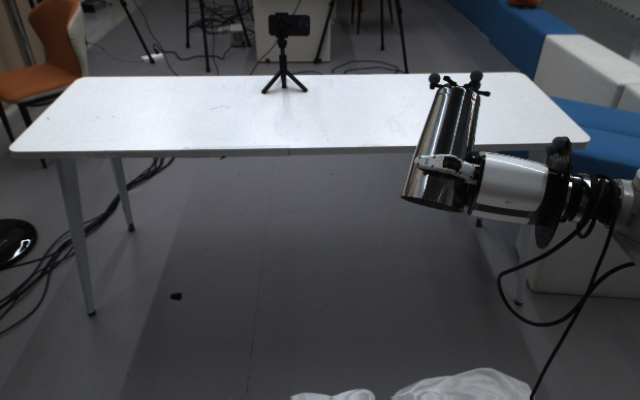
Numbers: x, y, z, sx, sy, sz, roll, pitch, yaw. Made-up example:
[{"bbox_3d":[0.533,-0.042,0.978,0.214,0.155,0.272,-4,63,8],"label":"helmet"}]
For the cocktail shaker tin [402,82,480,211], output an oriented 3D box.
[{"bbox_3d":[0.184,-0.075,0.716,0.093,0.170,0.093,15,-4,1],"label":"cocktail shaker tin"}]
